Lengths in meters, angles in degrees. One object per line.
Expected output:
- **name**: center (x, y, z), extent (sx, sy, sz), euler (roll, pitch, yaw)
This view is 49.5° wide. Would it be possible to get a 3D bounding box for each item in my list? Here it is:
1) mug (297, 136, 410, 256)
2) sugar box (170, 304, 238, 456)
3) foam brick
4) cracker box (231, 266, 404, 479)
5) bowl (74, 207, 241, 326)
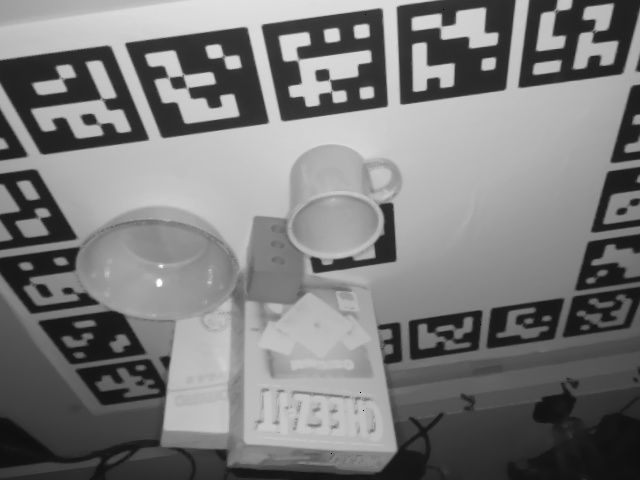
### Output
- **mug**: center (0.034, -0.048, 0.661), extent (0.117, 0.082, 0.093), euler (-15, 143, 6)
- **sugar box**: center (-0.114, 0.151, 0.776), extent (0.093, 0.177, 0.044), euler (8, 134, -14)
- **foam brick**: center (-0.037, 0.021, 0.734), extent (0.053, 0.078, 0.051), euler (3, 135, -10)
- **cracker box**: center (-0.005, 0.139, 0.754), extent (0.166, 0.215, 0.071), euler (15, 134, -19)
- **bowl**: center (-0.162, 0.018, 0.709), extent (0.162, 0.055, 0.160), euler (-4, 134, -3)
